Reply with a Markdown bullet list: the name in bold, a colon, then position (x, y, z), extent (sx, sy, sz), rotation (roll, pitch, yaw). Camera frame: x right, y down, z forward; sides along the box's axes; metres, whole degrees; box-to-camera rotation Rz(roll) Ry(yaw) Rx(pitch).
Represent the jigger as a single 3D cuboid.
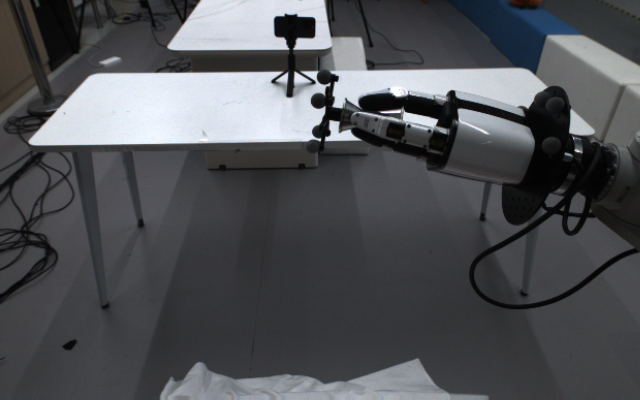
- **jigger**: position (0.062, -0.096, 0.560), extent (0.071, 0.043, 0.043), rotation (10, 35, 4)
